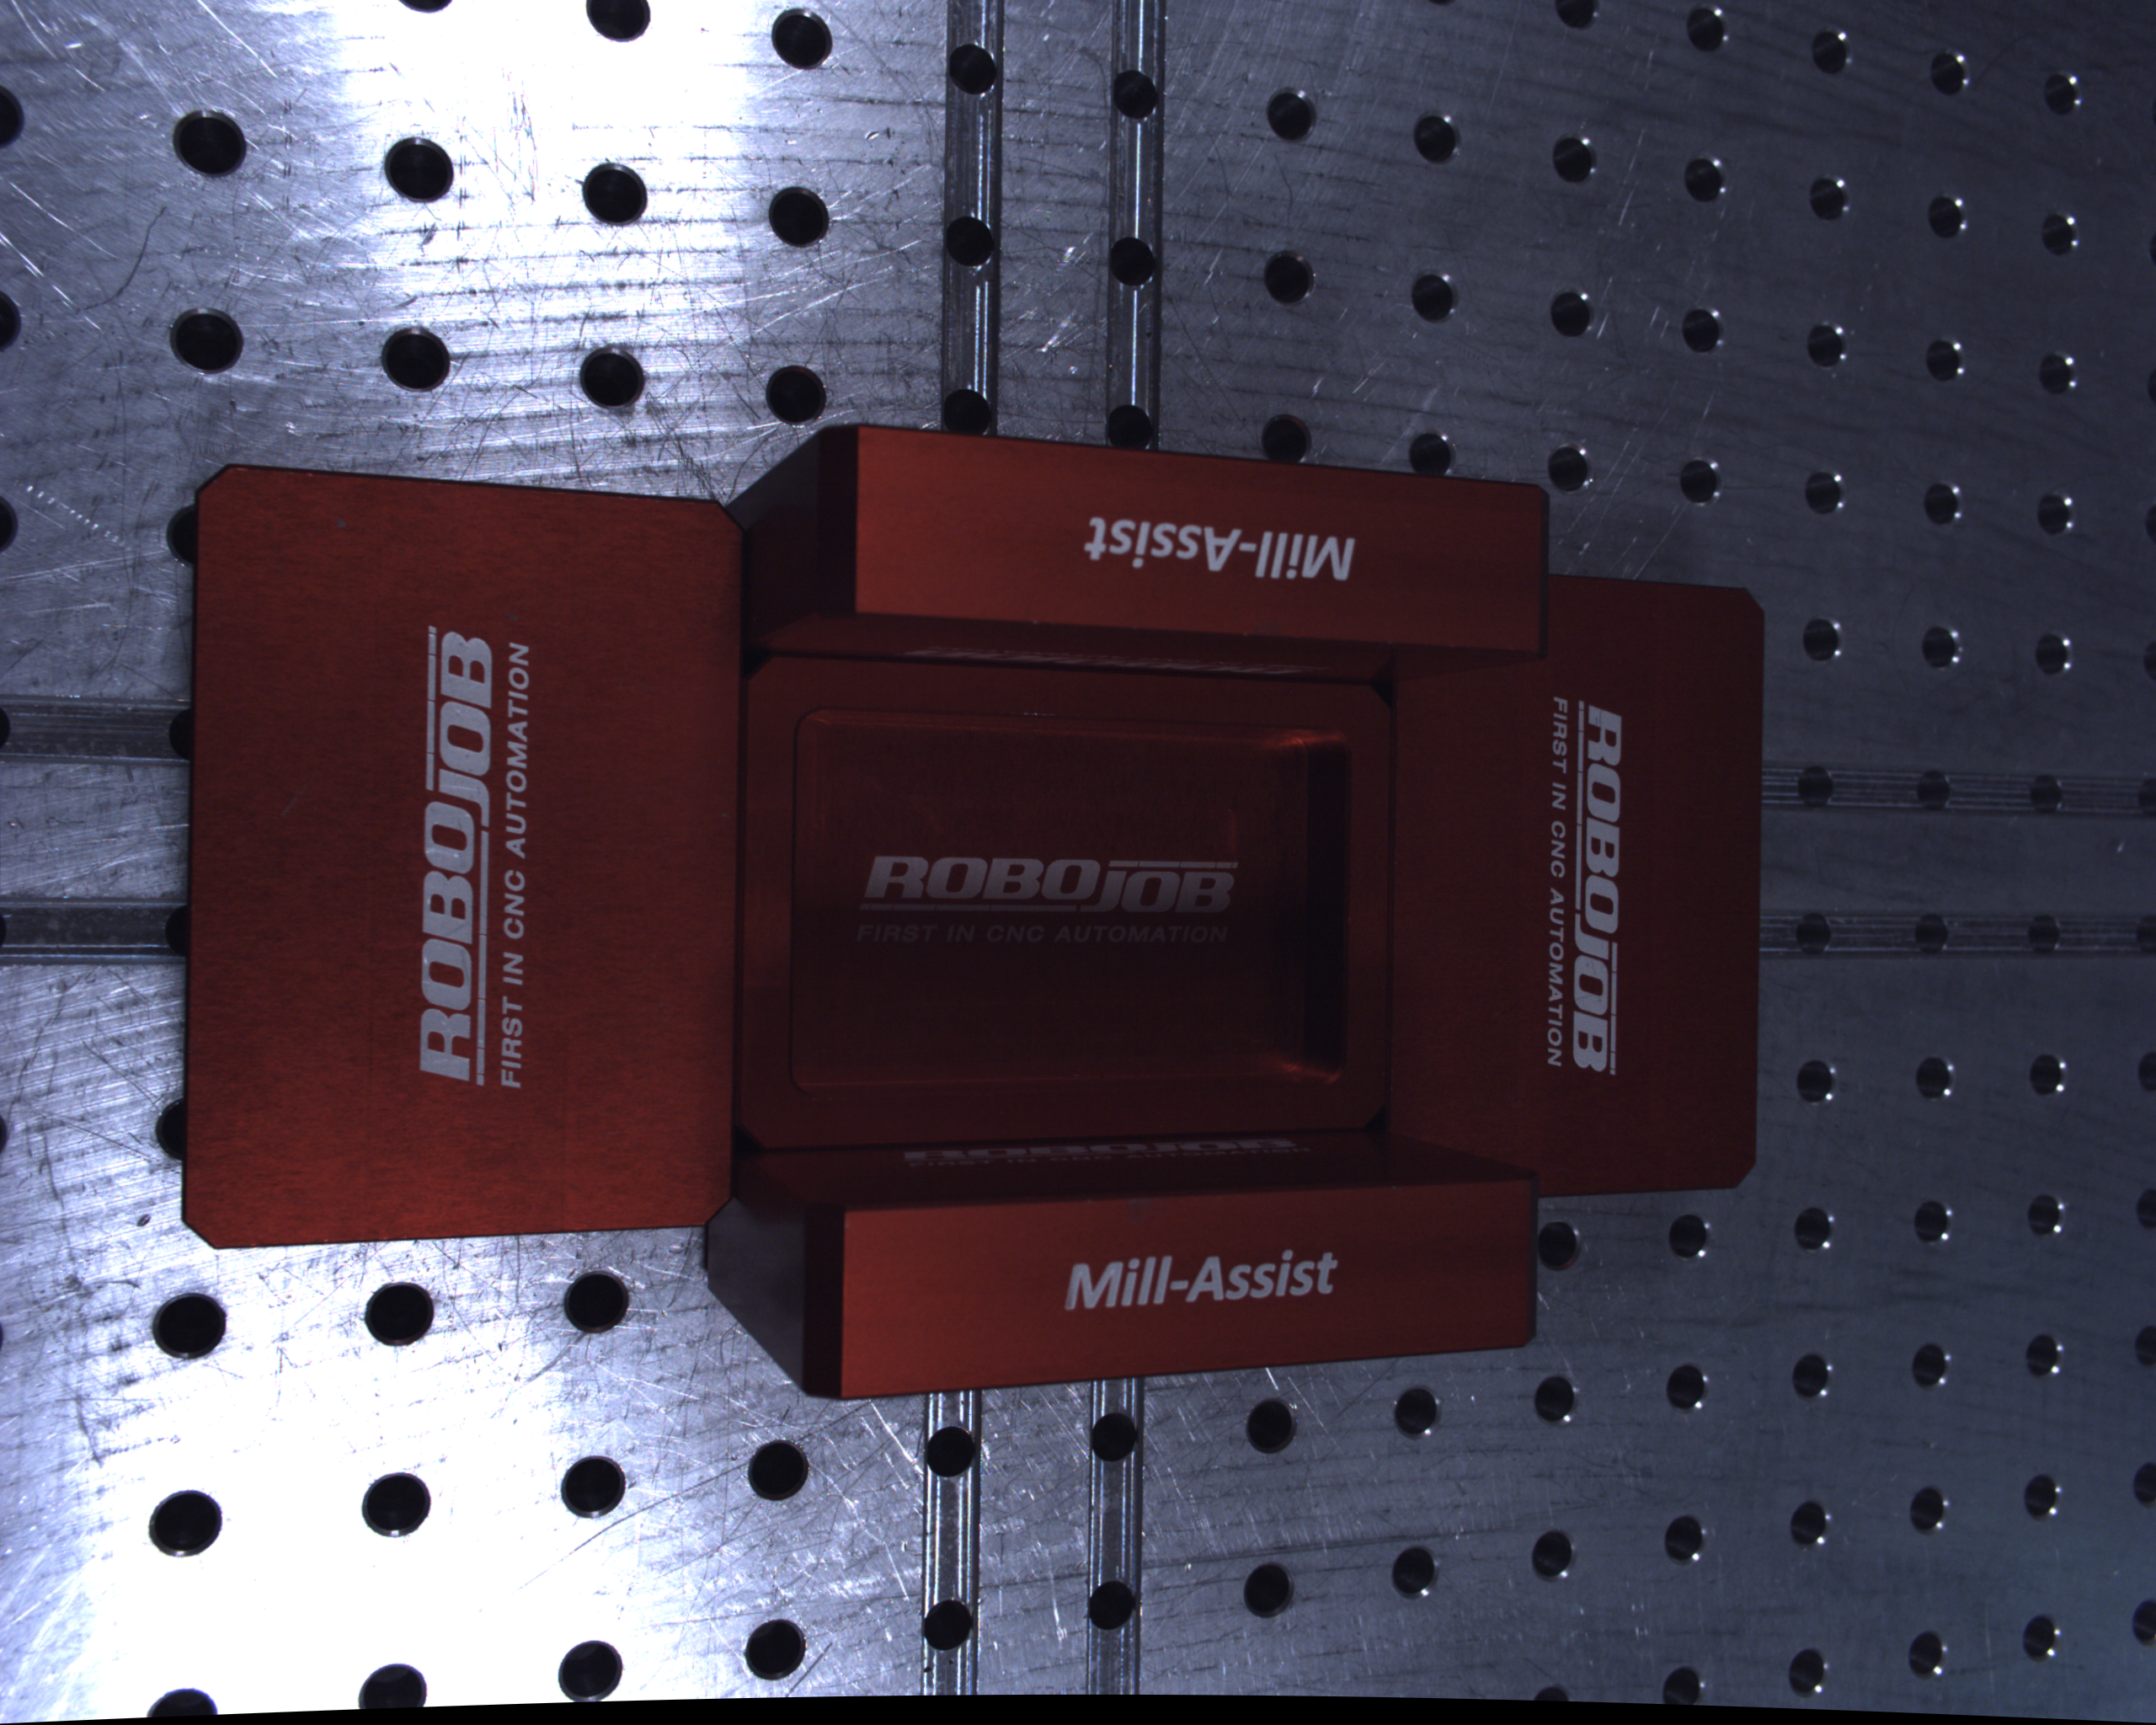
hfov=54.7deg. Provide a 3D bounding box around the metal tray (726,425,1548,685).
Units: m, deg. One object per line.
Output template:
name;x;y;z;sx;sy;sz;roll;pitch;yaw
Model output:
metal tray;0.007;-0.052;0.382;0.131;0.090;0.030;1;90;-20

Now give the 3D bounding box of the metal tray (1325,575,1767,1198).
metal tray;0.101;0.005;0.447;0.091;0.030;0.129;1;90;-21

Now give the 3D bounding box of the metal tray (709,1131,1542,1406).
metal tray;0.006;0.068;0.380;0.131;0.090;0.030;1;90;-20

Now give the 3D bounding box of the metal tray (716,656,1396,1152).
metal tray;-0.003;0.008;0.407;0.131;0.030;0.089;1;90;-21

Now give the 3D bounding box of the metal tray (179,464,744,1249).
metal tray;-0.108;-0.001;0.370;0.091;0.030;0.129;1;90;-21
